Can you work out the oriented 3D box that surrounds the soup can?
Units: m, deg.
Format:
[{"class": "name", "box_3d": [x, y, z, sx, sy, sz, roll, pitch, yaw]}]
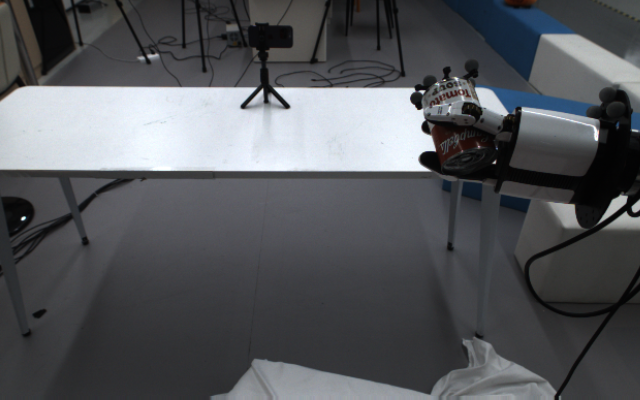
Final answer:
[{"class": "soup can", "box_3d": [0.171, -0.091, 0.596, 0.067, 0.067, 0.101, -7, 68, -13]}]
